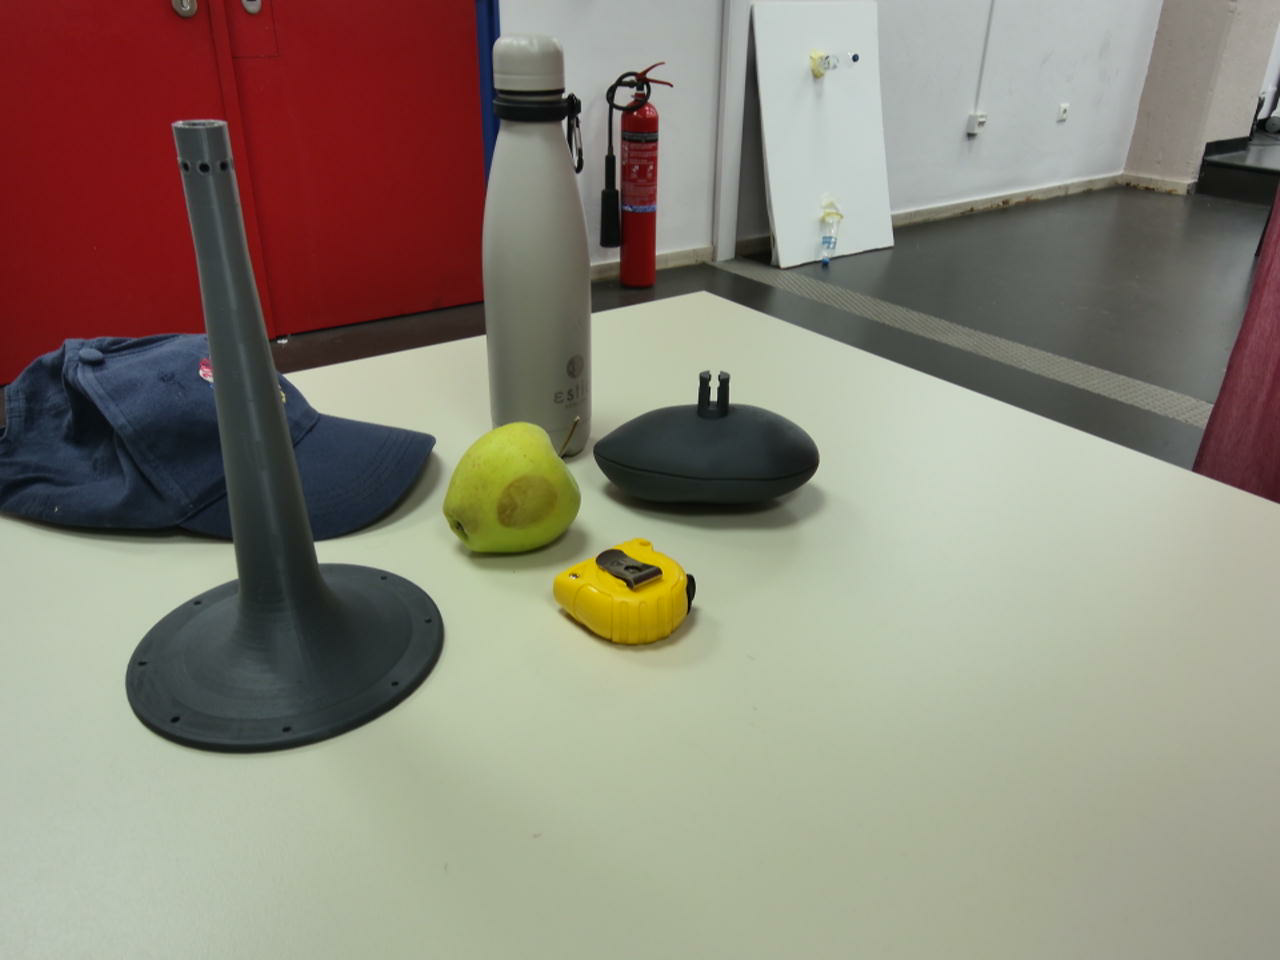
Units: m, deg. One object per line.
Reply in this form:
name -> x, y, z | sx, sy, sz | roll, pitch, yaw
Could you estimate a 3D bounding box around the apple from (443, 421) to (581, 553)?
apple -> -0.073, 0.004, 0.588 | 0.077, 0.075, 0.072 | 5, 26, 7
